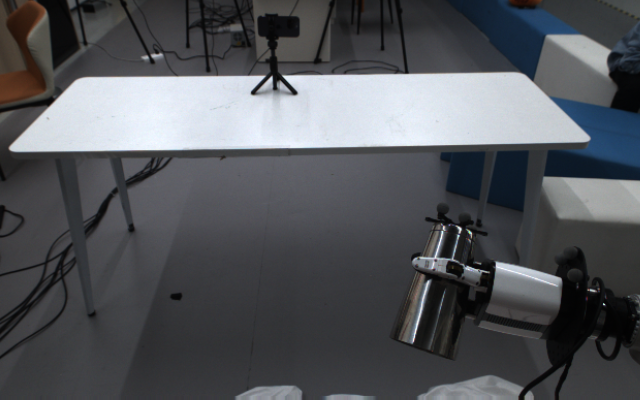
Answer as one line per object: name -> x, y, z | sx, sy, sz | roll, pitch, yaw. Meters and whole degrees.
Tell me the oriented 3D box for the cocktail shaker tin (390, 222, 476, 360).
cocktail shaker tin -> 0.163, 0.122, 0.669 | 0.093, 0.093, 0.170 | 16, 74, 19
